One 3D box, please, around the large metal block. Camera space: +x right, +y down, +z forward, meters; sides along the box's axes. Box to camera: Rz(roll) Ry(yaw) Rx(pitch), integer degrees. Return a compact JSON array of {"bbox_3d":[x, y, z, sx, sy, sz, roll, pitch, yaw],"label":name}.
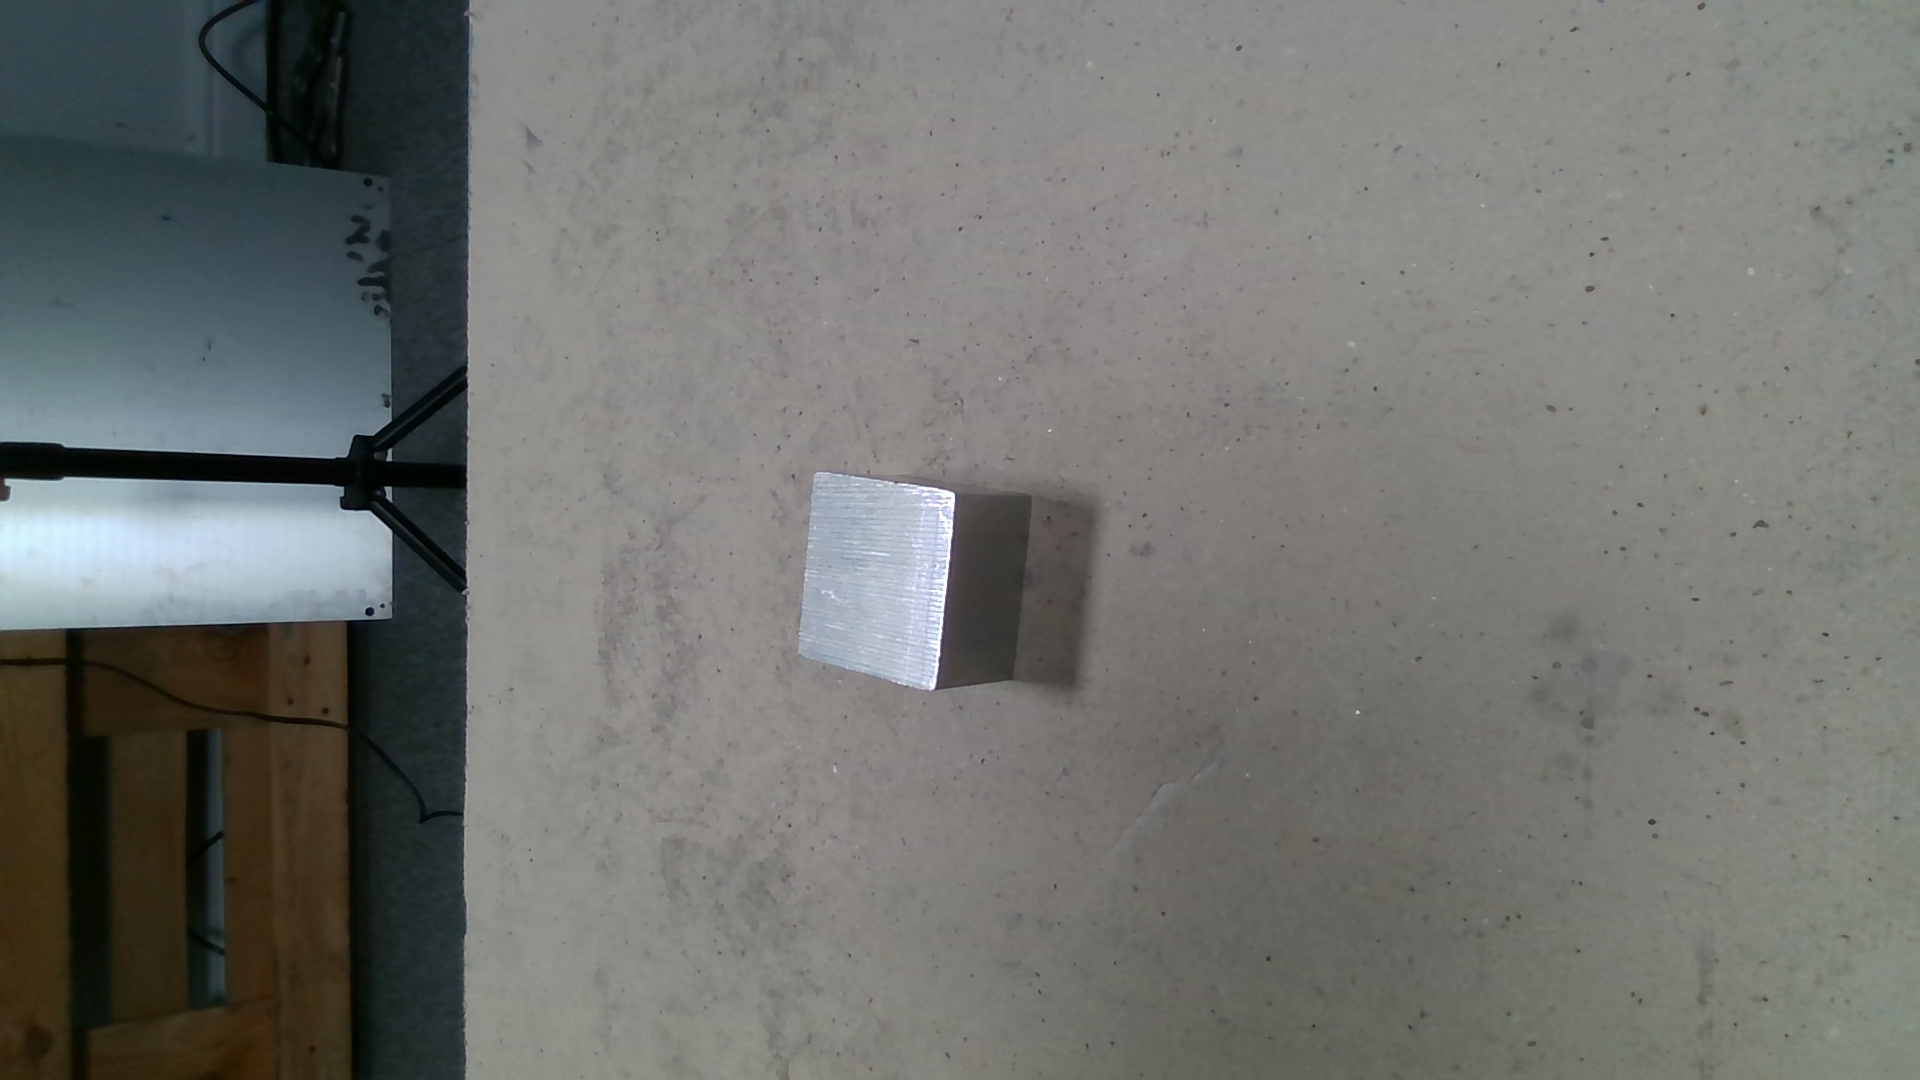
[{"bbox_3d":[-0.020,0.015,0.583,0.080,0.050,0.080,10,97,40],"label":"large metal block"}]
